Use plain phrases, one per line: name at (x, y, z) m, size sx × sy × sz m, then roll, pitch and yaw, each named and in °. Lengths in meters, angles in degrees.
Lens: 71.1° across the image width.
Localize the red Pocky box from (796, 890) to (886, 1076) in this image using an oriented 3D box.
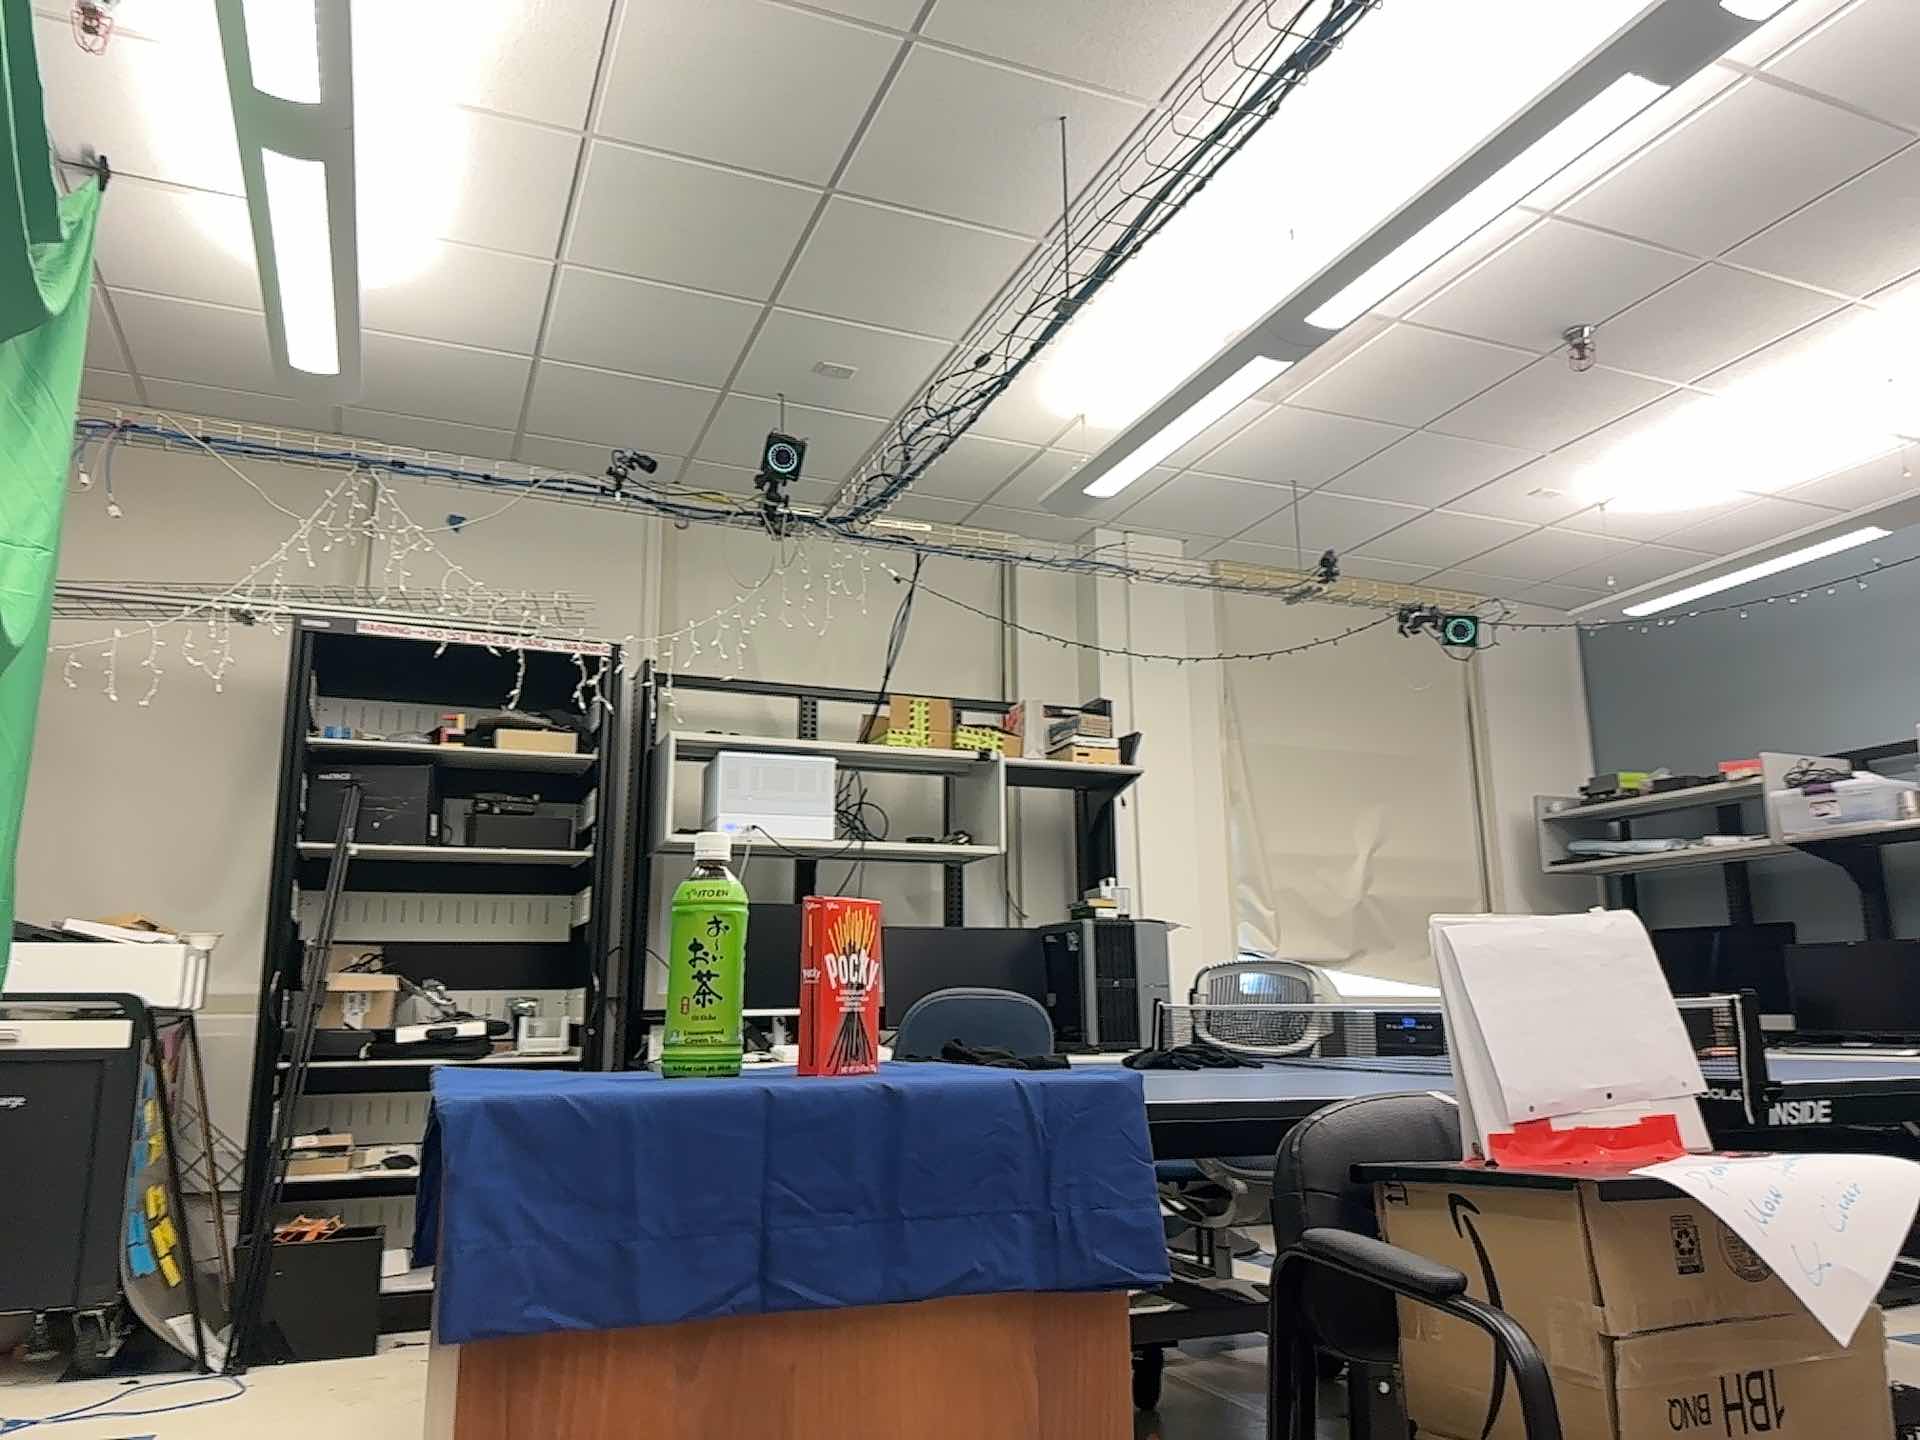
red Pocky box at (-0.101, 0.226, 1.158) m, size 0.028 × 0.155 × 0.083 m, roll -7°, pitch -13°, yaw 38°

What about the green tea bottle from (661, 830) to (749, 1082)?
green tea bottle at (-0.219, 0.201, 1.158) m, size 0.073 × 0.212 × 0.073 m, roll -2°, pitch -11°, yaw 0°
